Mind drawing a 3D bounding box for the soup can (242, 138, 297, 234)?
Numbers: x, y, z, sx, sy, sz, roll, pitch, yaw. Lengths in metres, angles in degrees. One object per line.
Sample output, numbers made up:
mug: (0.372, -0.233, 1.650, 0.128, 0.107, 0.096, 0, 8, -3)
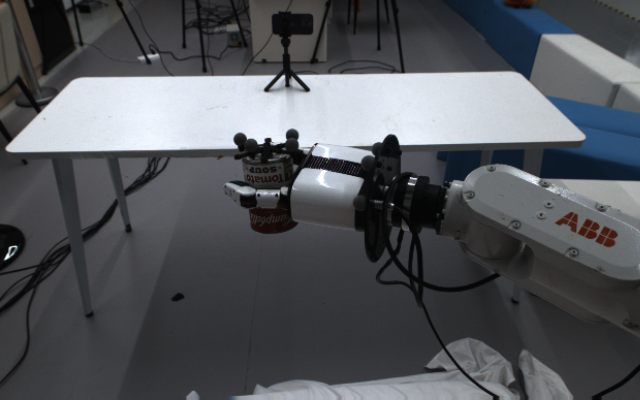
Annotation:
soup can: (-0.064, -0.015, 0.647, 0.067, 0.101, 0.067, -4, 26, 2)
